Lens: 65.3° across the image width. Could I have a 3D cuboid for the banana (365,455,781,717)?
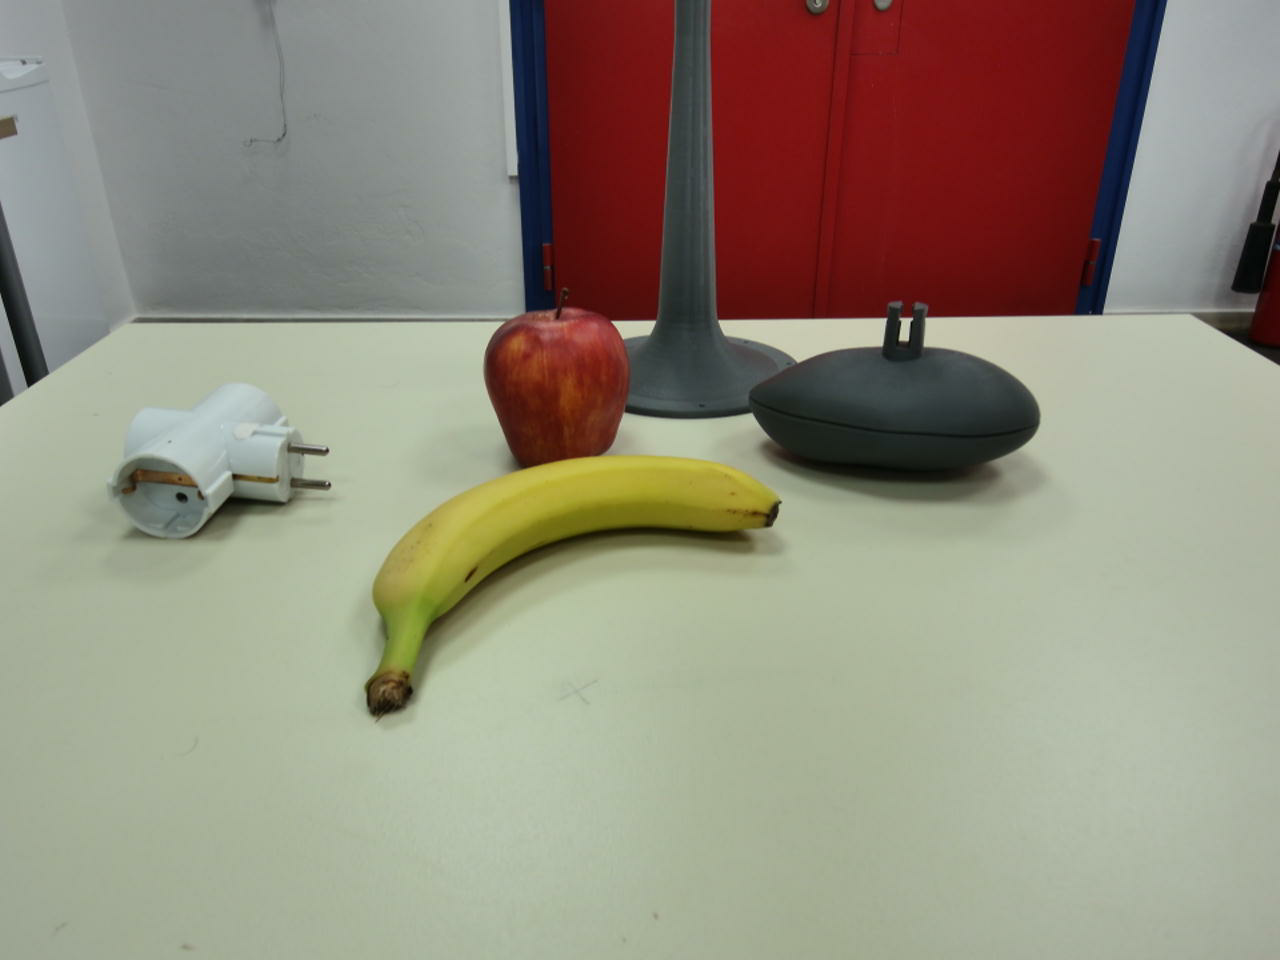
[{"bbox_3d":[-0.039,0.025,0.422,0.196,0.041,0.094,-17,29,-32],"label":"banana"}]
